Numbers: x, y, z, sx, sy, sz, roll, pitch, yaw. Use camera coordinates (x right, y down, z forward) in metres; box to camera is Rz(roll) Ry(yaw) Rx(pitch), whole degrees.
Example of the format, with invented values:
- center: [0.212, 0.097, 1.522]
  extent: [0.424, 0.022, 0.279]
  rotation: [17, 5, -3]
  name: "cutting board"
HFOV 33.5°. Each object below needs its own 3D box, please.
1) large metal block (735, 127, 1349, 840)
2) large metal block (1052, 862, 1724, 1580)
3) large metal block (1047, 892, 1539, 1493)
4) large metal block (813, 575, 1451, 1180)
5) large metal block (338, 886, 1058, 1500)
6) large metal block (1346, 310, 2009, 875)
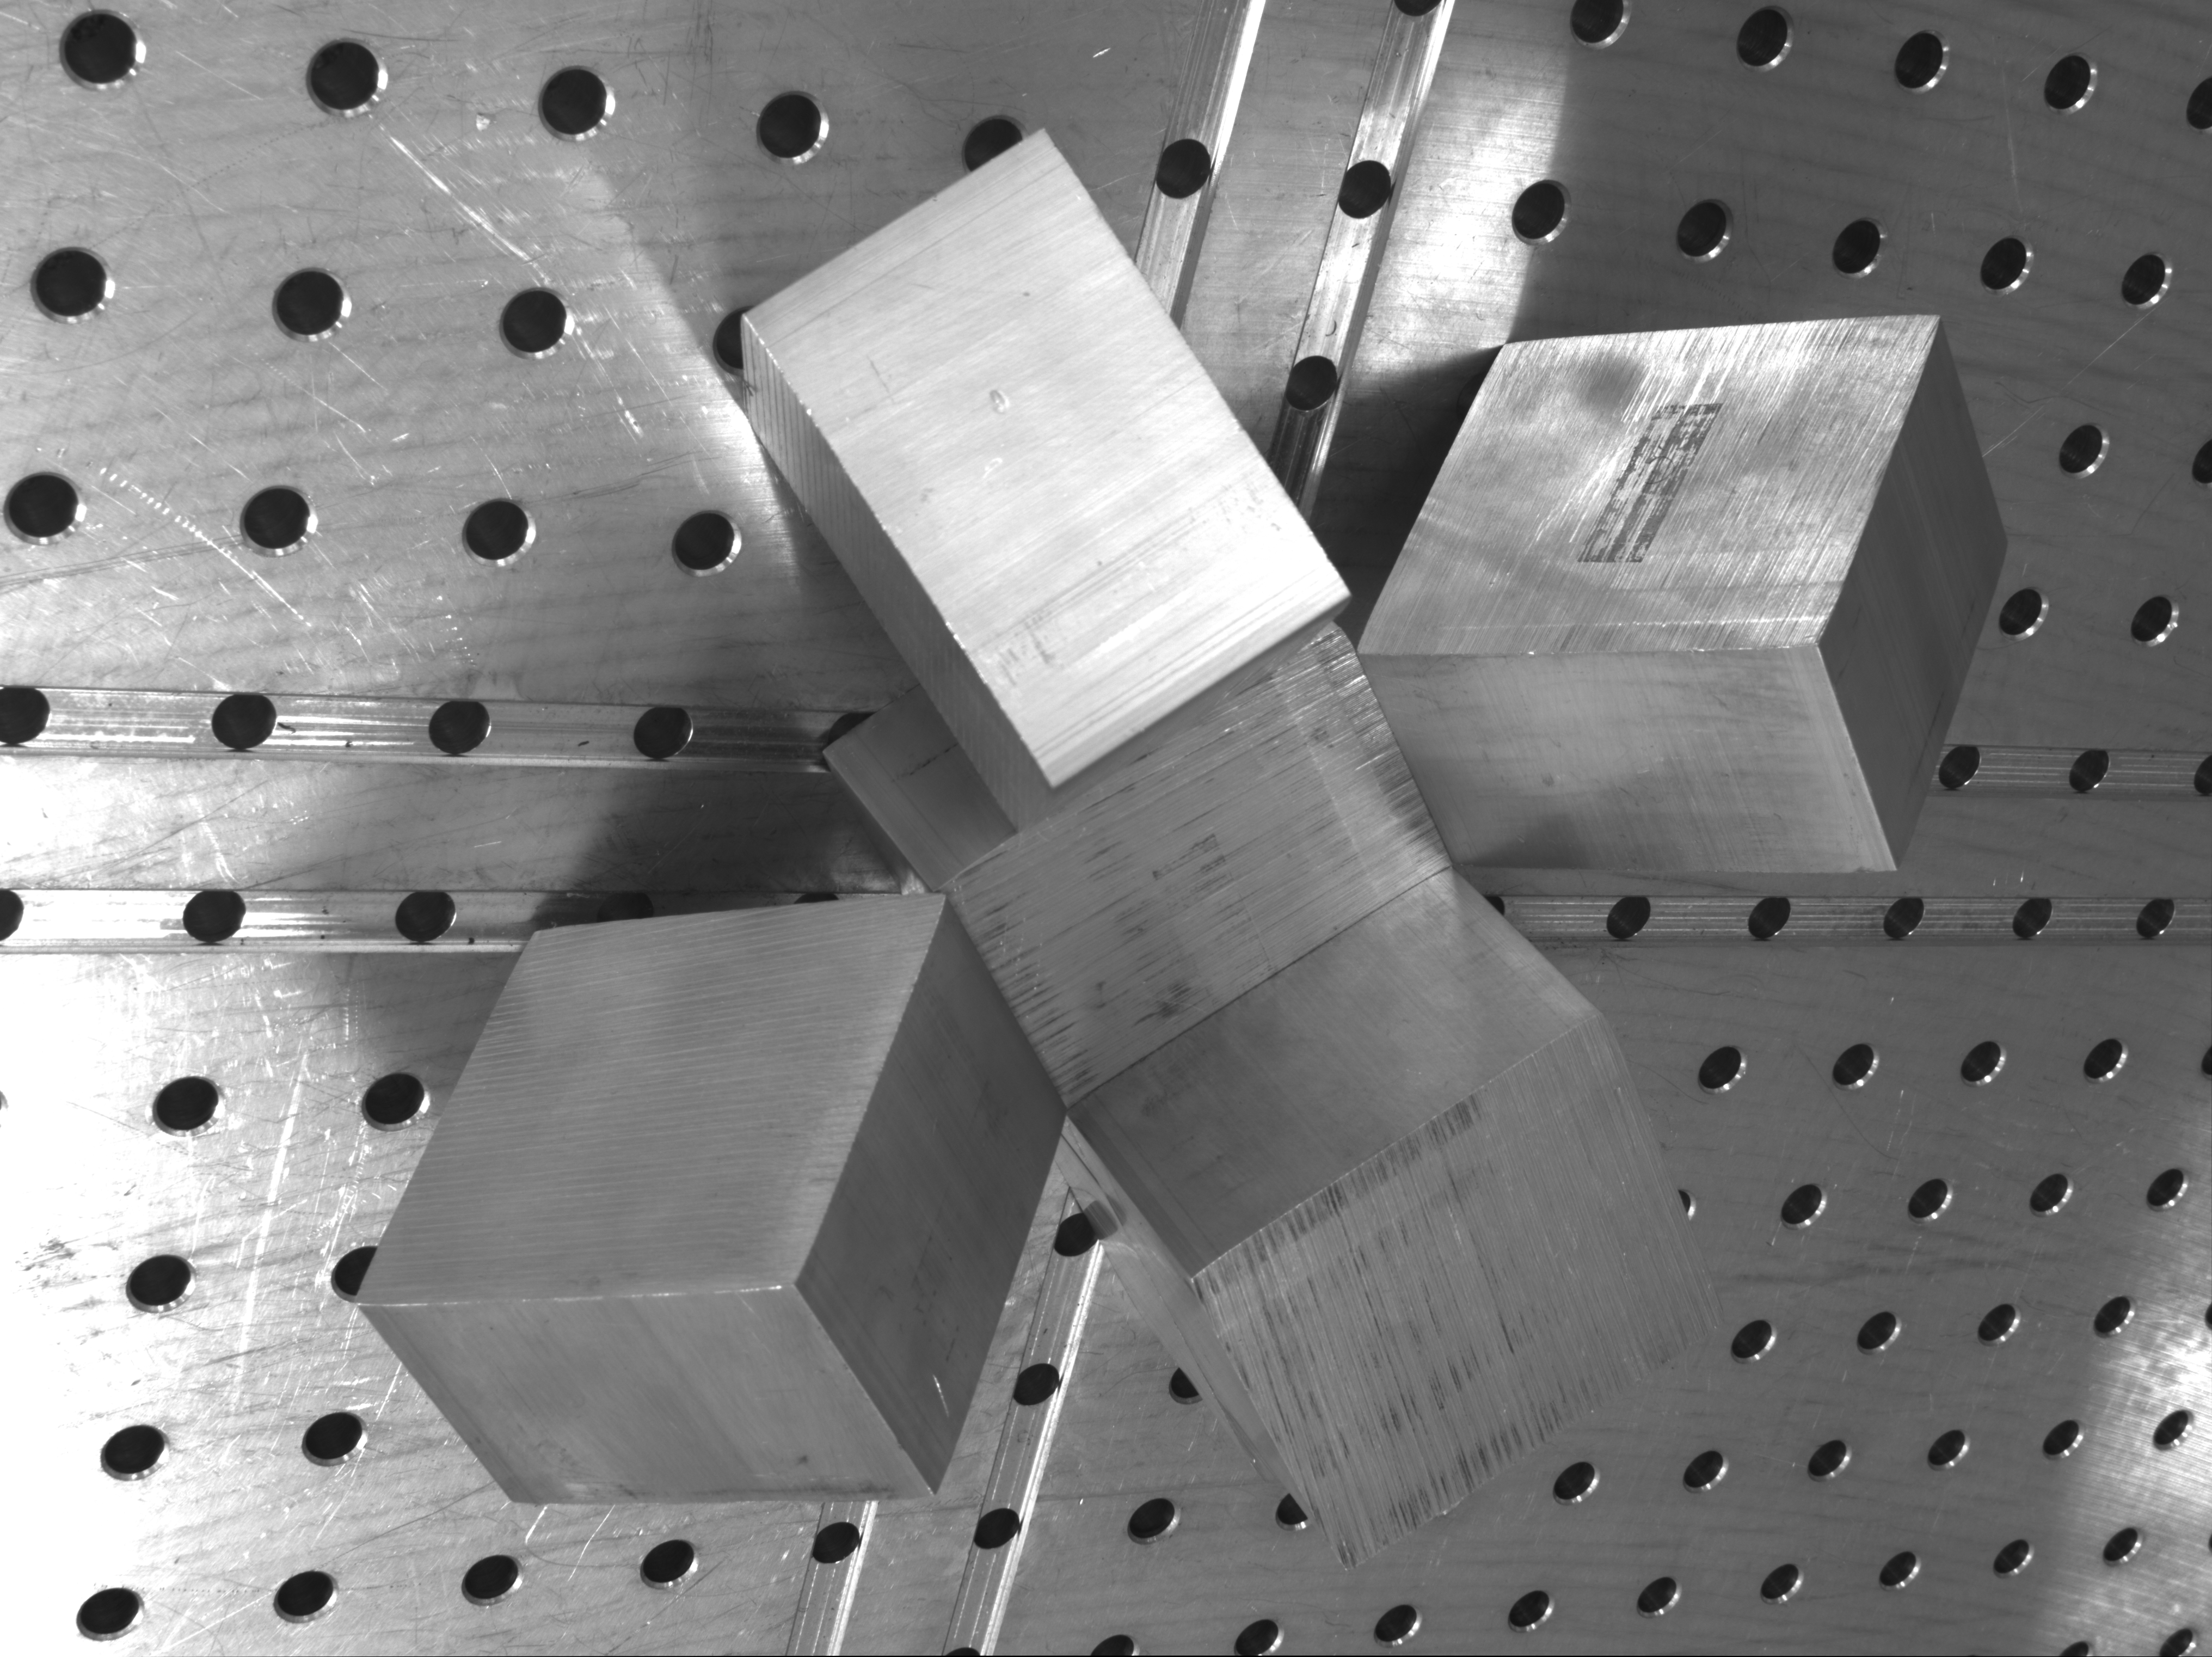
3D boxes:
- center: [-0.012, -0.048, 0.550]
  extent: [0.050, 0.080, 0.080]
  rotation: [-33, 89, -7]
  name: "large metal block"
- center: [0.049, 0.067, 0.626]
  extent: [0.080, 0.050, 0.080]
  rotation: [-33, 129, -8]
  name: "large metal block"
- center: [0.038, 0.062, 0.681]
  extent: [0.080, 0.050, 0.080]
  rotation: [-33, 127, -8]
  name: "large metal block"
- center: [0.009, 0.004, 0.632]
  extent: [0.080, 0.050, 0.080]
  rotation: [-33, 129, -6]
  name: "large metal block"
- center: [-0.063, 0.059, 0.588]
  extent: [0.080, 0.080, 0.050]
  rotation: [-6, 132, 26]
  name: "large metal block"
- center: [0.097, -0.039, 0.614]
  extent: [0.050, 0.080, 0.080]
  rotation: [62, 42, -38]
  name: "large metal block"
